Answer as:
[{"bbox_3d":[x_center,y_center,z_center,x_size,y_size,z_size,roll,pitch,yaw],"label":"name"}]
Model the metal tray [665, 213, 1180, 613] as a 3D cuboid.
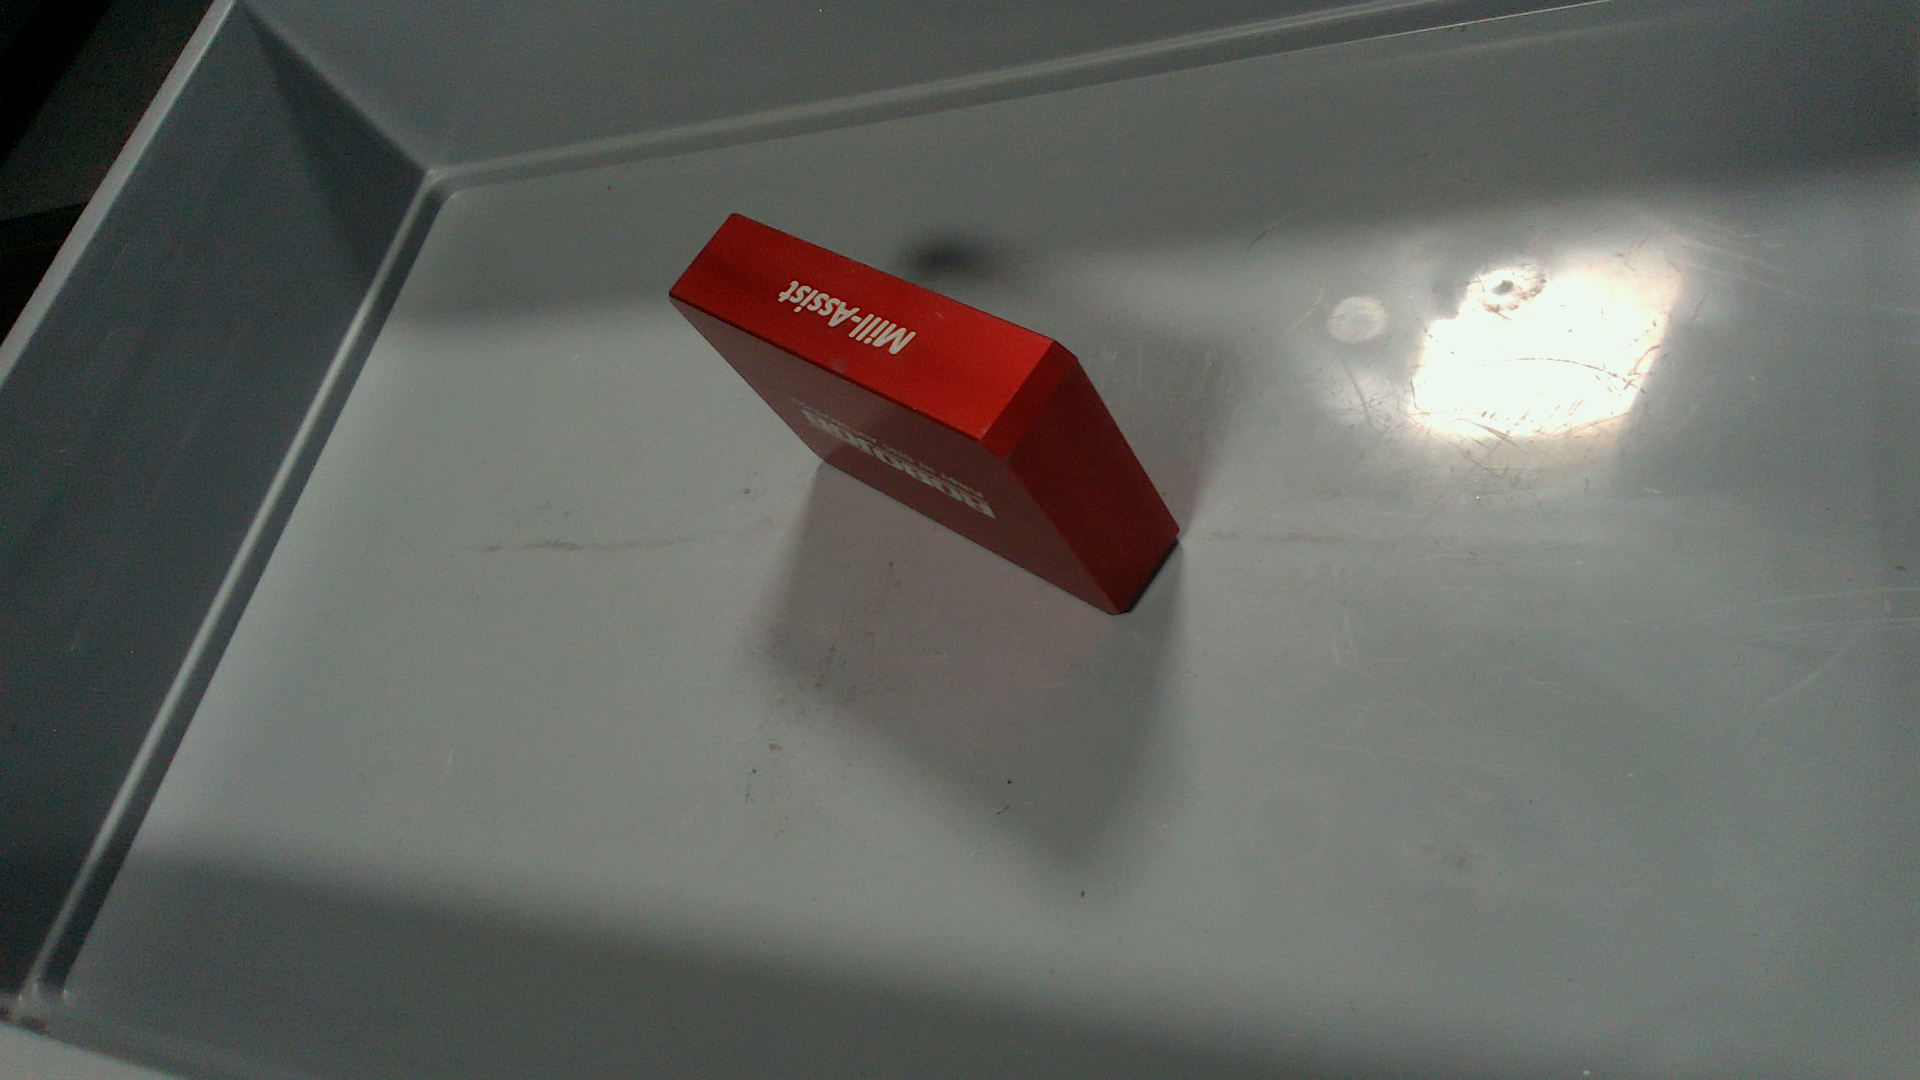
[{"bbox_3d":[-0.011,-0.035,0.376,0.130,0.090,0.030,28,77,37],"label":"metal tray"}]
